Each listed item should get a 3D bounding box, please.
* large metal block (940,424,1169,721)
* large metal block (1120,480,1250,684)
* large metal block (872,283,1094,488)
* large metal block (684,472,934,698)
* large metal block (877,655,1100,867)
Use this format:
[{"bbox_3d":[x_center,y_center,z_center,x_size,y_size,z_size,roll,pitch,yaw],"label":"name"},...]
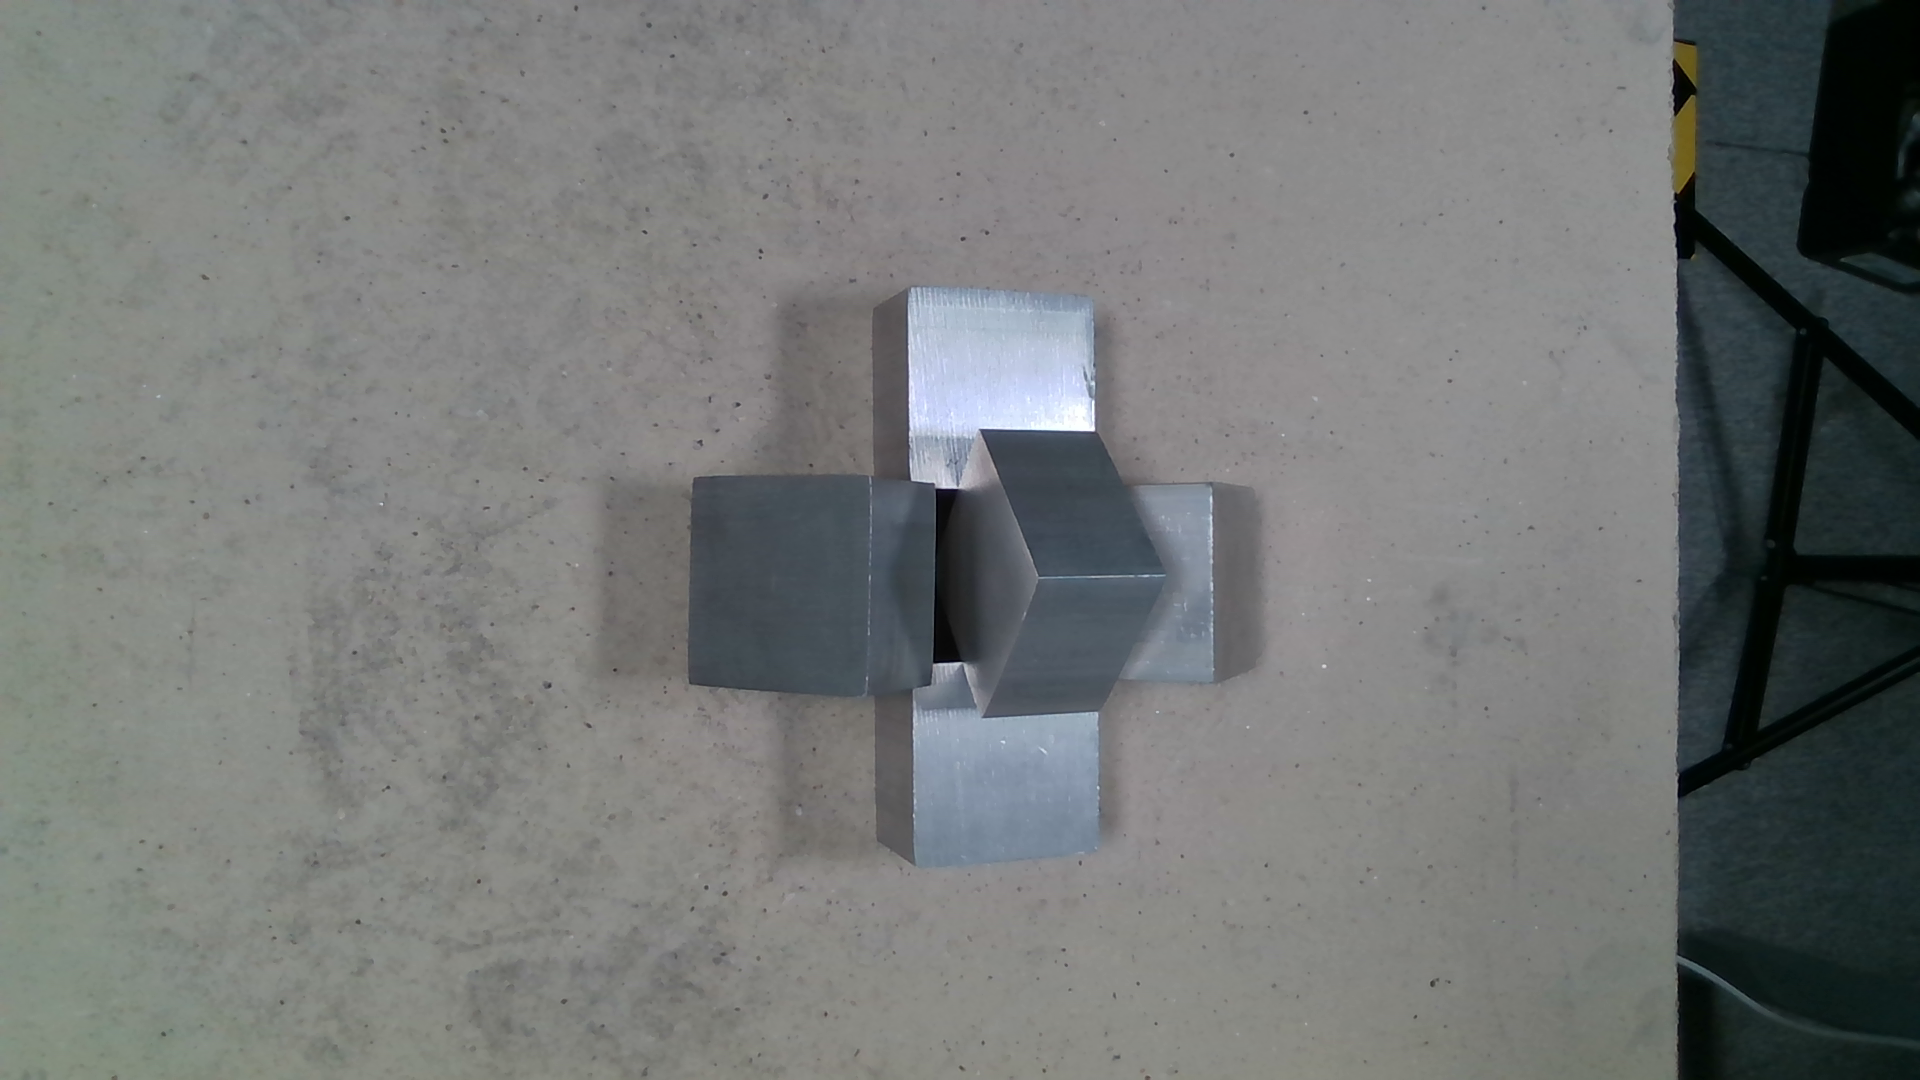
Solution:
[{"bbox_3d":[0.031,0.012,0.533,0.050,0.080,0.080,-1,46,-20],"label":"large metal block"},{"bbox_3d":[0.092,0.017,0.585,0.050,0.080,0.080,0,90,23],"label":"large metal block"},{"bbox_3d":[0.009,-0.061,0.576,0.080,0.050,0.080,-1,90,-20],"label":"large metal block"},{"bbox_3d":[-0.057,0.017,0.529,0.050,0.080,0.080,3,87,-64],"label":"large metal block"},{"bbox_3d":[0.011,0.088,0.574,0.080,0.050,0.080,0,90,-20],"label":"large metal block"}]
